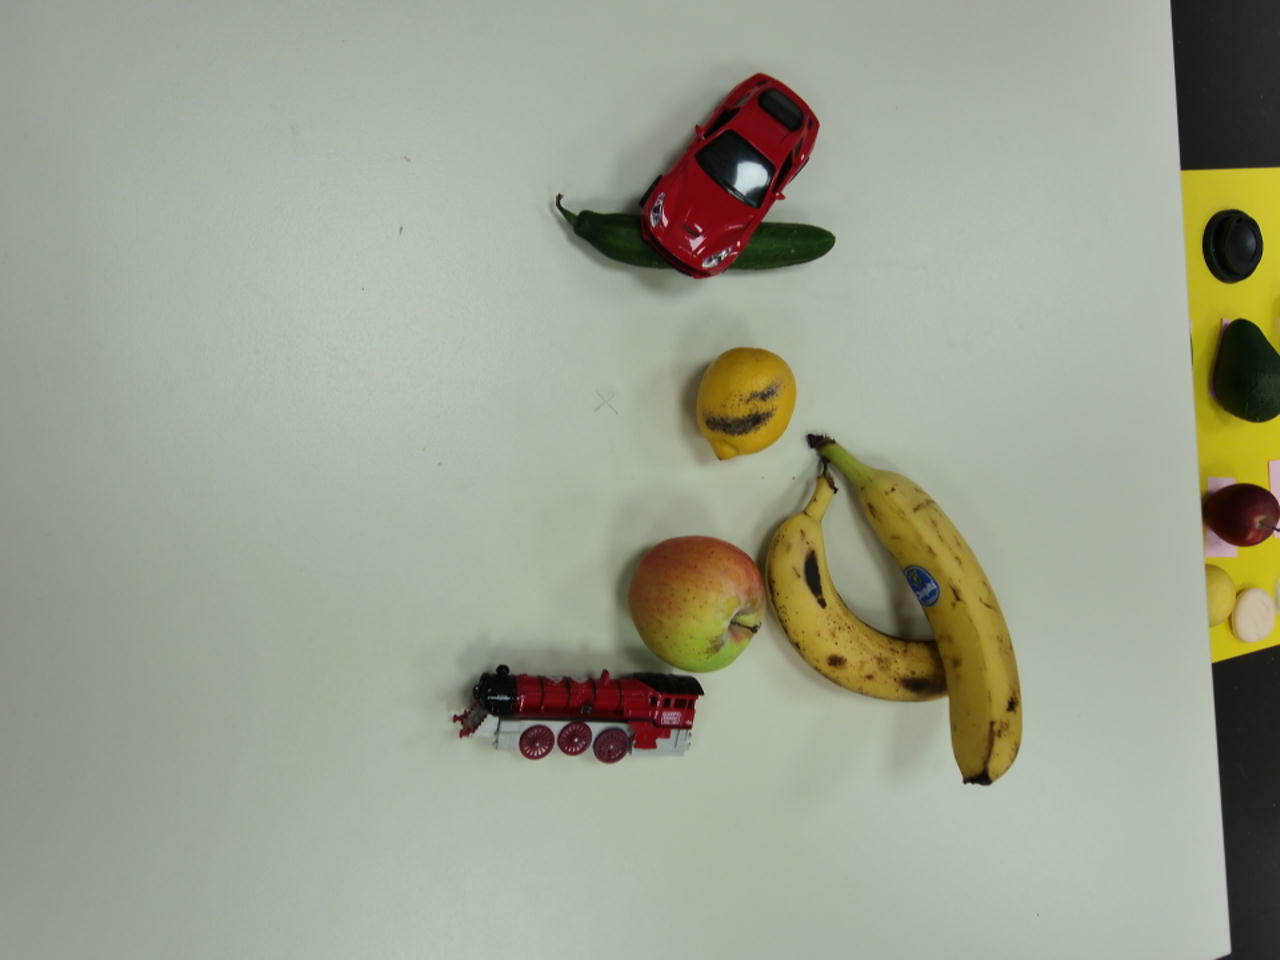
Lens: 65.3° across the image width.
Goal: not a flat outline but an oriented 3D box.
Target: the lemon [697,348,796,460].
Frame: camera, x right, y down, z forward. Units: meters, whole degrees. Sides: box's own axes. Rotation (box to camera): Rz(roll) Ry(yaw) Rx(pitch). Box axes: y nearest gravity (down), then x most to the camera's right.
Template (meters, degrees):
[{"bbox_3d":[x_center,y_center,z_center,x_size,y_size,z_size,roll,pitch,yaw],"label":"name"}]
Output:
[{"bbox_3d":[0.060,-0.045,0.570,0.058,0.056,0.061,-15,96,-21],"label":"lemon"}]
